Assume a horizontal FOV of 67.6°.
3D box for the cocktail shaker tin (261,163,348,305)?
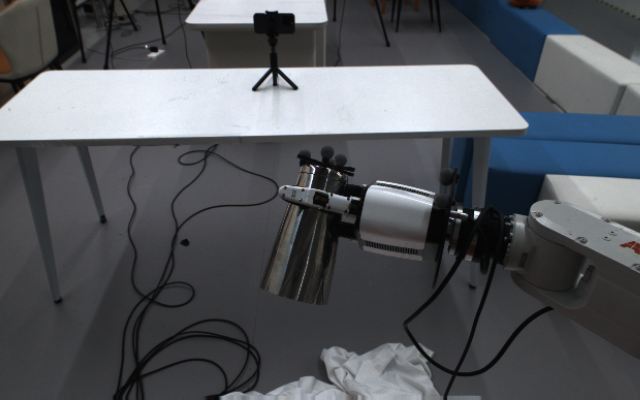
[{"bbox_3d":[-0.013,0.041,0.646,0.093,0.170,0.093,15,-5,1],"label":"cocktail shaker tin"}]
